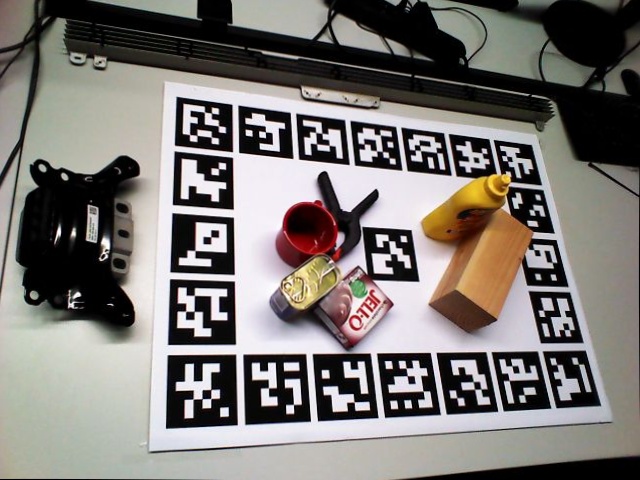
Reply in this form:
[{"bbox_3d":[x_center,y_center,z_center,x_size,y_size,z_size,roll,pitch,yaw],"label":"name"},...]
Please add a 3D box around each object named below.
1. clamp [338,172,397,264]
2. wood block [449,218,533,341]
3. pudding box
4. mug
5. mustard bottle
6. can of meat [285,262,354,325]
[{"bbox_3d":[0.070,-0.035,0.909,0.122,0.037,0.164,22,65,-12],"label":"clamp"},{"bbox_3d":[0.326,0.065,0.929,0.090,0.091,0.205,37,60,-1],"label":"wood block"},{"bbox_3d":[0.086,0.120,0.846,0.113,0.039,0.090,-39,86,-30],"label":"pudding box"},{"bbox_3d":[-0.004,-0.005,0.865,0.093,0.082,0.116,25,65,-9],"label":"mug"},{"bbox_3d":[0.299,-0.054,0.903,0.096,0.193,0.058,-2,70,-20],"label":"mustard bottle"},{"bbox_3d":[0.001,0.084,0.798,0.101,0.084,0.058,-29,82,-27],"label":"can of meat"}]
